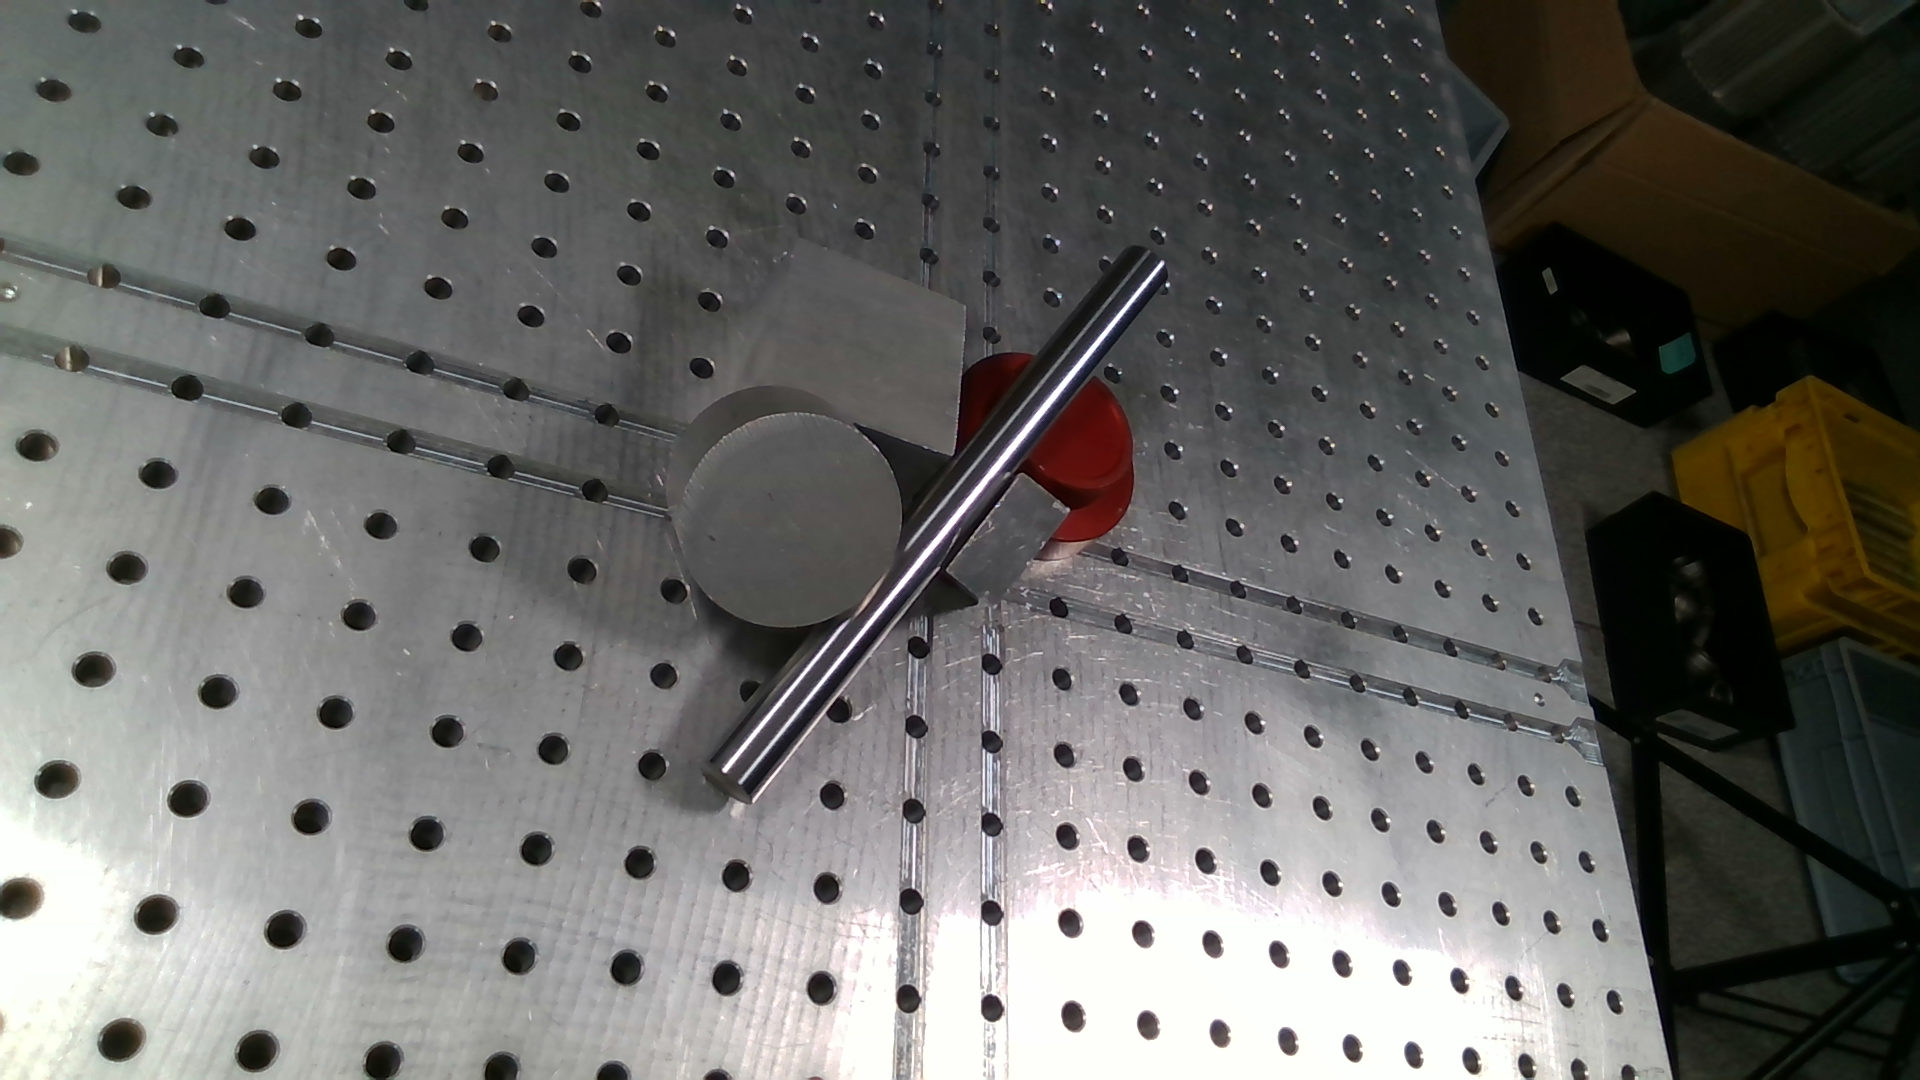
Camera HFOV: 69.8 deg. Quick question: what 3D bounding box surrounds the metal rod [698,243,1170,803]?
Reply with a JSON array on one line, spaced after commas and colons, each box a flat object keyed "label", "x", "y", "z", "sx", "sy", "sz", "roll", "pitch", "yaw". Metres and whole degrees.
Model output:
[{"label": "metal rod", "x": 0.000, "y": -0.019, "z": 0.558, "sx": 0.025, "sy": 0.025, "sz": 0.299, "roll": 42, "pitch": 64, "yaw": -6}]

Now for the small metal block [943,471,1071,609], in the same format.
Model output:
[{"label": "small metal block", "x": 0.016, "y": 0.000, "z": 0.570, "sx": 0.025, "sy": 0.050, "sz": 0.050, "roll": 38, "pitch": 86, "yaw": -5}]

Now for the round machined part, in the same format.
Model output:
[{"label": "round machined part", "x": 0.039, "y": -0.044, "z": 0.626, "sx": 0.098, "sy": 0.042, "sz": 0.098, "roll": 14, "pitch": 59, "yaw": -25}]

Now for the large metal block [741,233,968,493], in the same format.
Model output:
[{"label": "large metal block", "x": -0.046, "y": -0.069, "z": 0.578, "sx": 0.080, "sy": 0.050, "sz": 0.080, "roll": 19, "pitch": 57, "yaw": -22}]

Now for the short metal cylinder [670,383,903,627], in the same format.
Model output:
[{"label": "short metal cylinder", "x": -0.066, "y": -0.014, "z": 0.512, "sx": 0.080, "sy": 0.050, "sz": 0.080, "roll": -5, "pitch": 110, "yaw": -16}]
